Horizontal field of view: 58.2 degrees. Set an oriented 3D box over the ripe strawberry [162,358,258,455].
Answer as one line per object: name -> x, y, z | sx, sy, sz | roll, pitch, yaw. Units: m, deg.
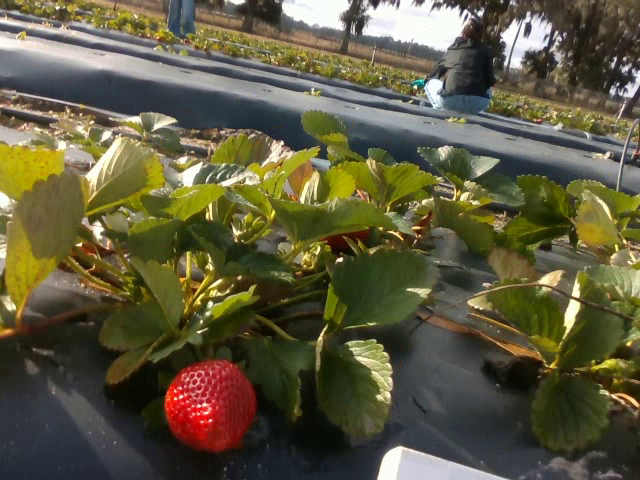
ripe strawberry -> -0.037, 0.061, 0.204 | 0.041, 0.041, 0.047 | -14, 7, -8
